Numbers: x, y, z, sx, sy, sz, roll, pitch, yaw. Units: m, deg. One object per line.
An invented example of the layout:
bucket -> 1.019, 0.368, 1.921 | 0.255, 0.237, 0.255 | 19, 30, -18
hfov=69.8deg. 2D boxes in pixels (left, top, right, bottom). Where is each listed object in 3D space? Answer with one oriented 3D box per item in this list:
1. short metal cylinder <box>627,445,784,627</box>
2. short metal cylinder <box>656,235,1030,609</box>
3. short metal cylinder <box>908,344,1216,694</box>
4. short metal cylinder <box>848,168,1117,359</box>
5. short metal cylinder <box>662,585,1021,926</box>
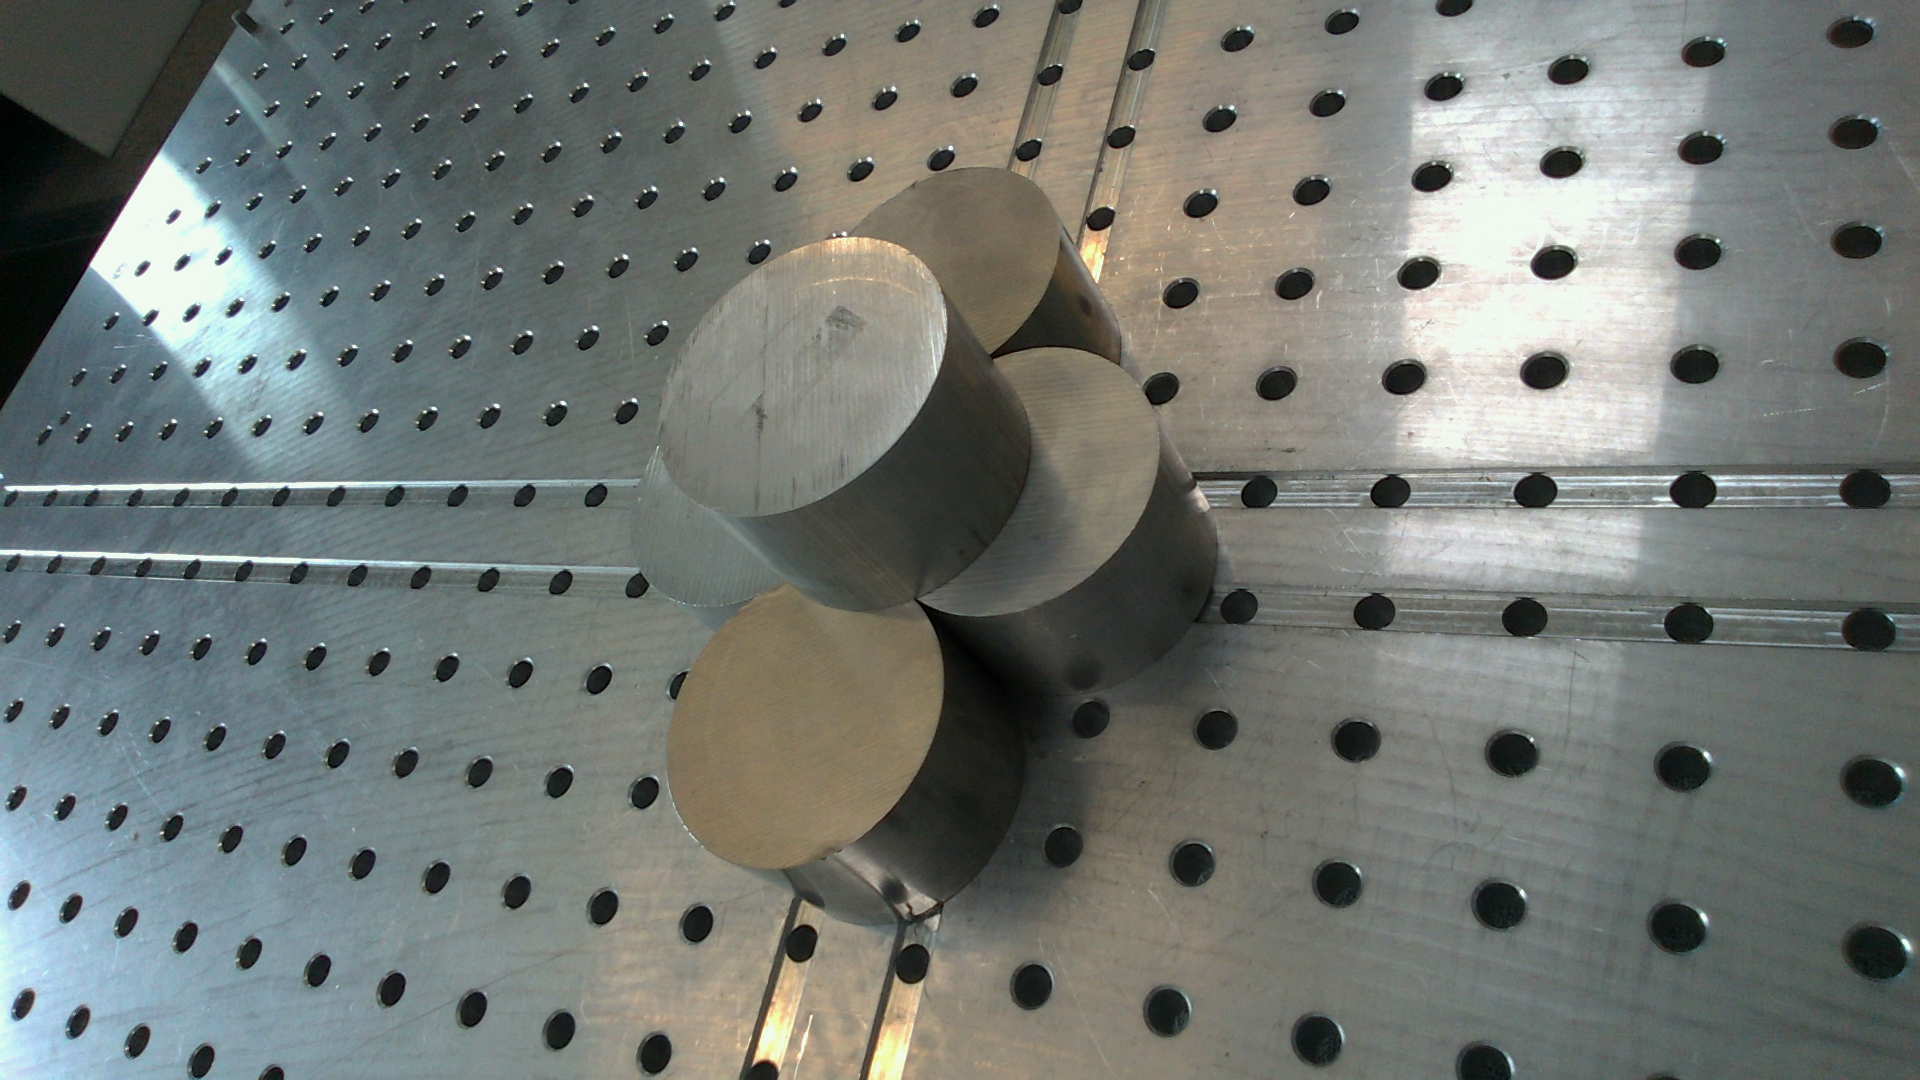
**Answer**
short metal cylinder -> -0.051, -0.005, 0.412 | 0.080, 0.050, 0.080 | -13, 56, 21
short metal cylinder -> -0.029, -0.029, 0.348 | 0.080, 0.050, 0.080 | -13, 56, 21
short metal cylinder -> 0.023, -0.005, 0.371 | 0.080, 0.050, 0.080 | -14, 56, 21
short metal cylinder -> 0.002, -0.065, 0.420 | 0.080, 0.050, 0.080 | -13, 56, 20
short metal cylinder -> -0.030, 0.055, 0.363 | 0.080, 0.050, 0.080 | -14, 54, 20
